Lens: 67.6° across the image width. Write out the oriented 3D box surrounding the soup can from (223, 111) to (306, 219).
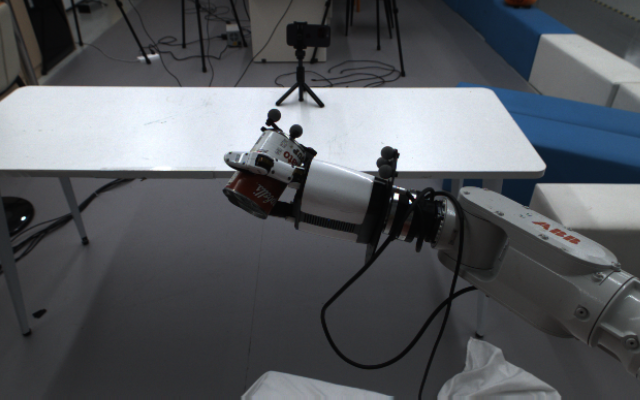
[{"bbox_3d":[-0.072,-0.035,0.636,0.067,0.067,0.101,23,72,28],"label":"soup can"}]
